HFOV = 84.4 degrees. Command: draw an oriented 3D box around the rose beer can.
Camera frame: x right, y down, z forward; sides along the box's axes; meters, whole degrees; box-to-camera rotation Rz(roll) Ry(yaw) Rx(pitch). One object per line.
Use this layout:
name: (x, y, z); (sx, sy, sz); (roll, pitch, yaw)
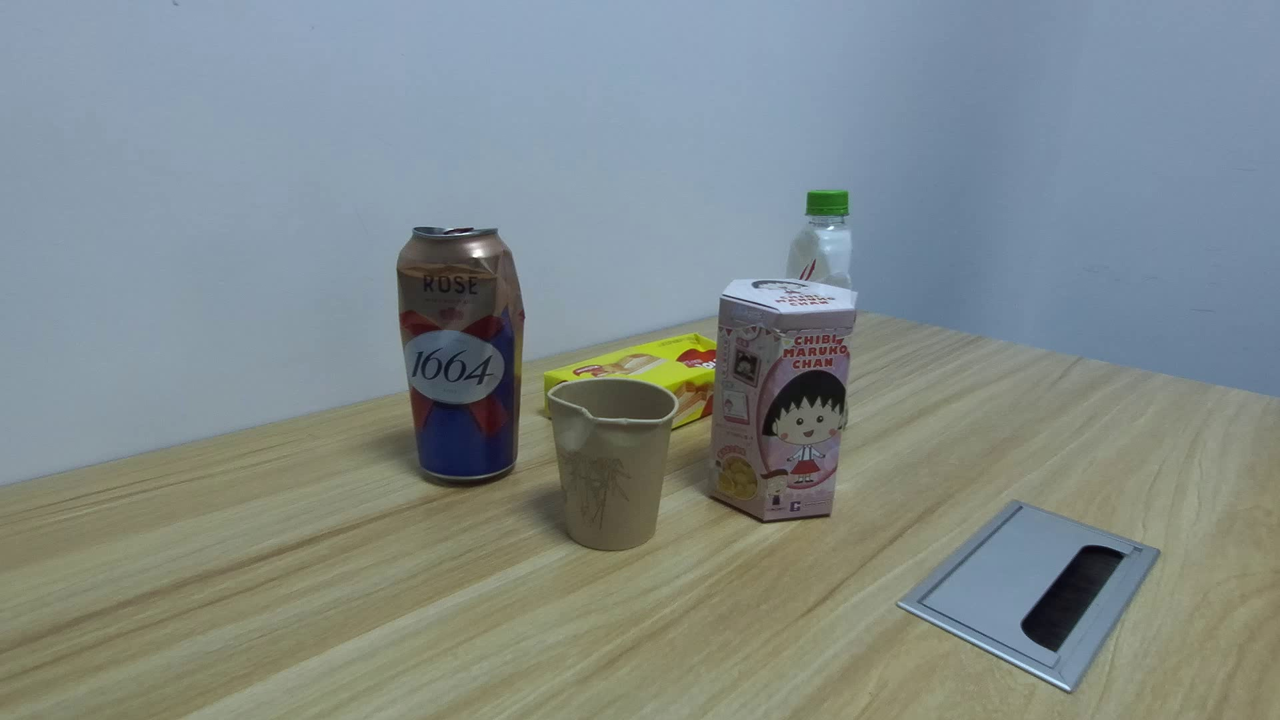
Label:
rose beer can: (-0.116, -0.004, 0.472); (0.075, 0.167, 0.065); (6, 16, 22)

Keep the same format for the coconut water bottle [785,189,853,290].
coconut water bottle: (0.138, -0.036, 0.548); (0.067, 0.187, 0.067); (3, 10, 0)

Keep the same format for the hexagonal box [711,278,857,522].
hexagonal box: (0.089, 0.023, 0.445); (0.091, 0.136, 0.083); (-4, 19, -14)

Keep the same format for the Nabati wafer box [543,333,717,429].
Nabati wafer box: (0.023, 0.016, 0.610); (0.096, 0.042, 0.204); (13, 20, 42)

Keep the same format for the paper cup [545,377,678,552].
paper cup: (-0.017, 0.060, 0.410); (0.073, 0.081, 0.068); (-1, 17, -8)
